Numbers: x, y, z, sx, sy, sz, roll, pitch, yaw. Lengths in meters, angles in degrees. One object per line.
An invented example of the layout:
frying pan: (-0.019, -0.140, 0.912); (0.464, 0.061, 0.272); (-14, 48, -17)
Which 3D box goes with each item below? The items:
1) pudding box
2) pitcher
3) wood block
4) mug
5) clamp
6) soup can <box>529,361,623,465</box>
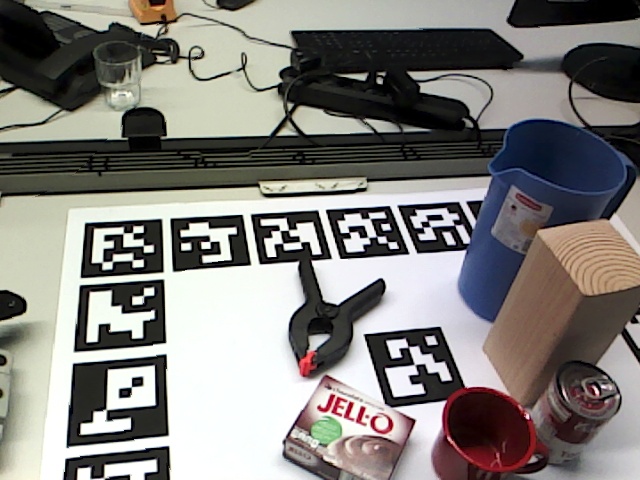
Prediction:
pudding box: (0.023, 0.204, 0.651); (0.114, 0.038, 0.090); (22, 49, 17)
pitcher: (0.269, -0.016, 0.757); (0.188, 0.242, 0.134); (-6, 44, -9)
wood block: (0.266, 0.082, 0.679); (0.089, 0.206, 0.091); (-4, 45, -16)
mug: (0.172, 0.211, 0.627); (0.117, 0.081, 0.093); (21, 44, 16)
clamp: (0.014, 0.093, 0.770); (0.122, 0.036, 0.165); (22, 46, 5)
soup can: (0.261, 0.183, 0.649); (0.068, 0.102, 0.068); (3, 47, -4)
